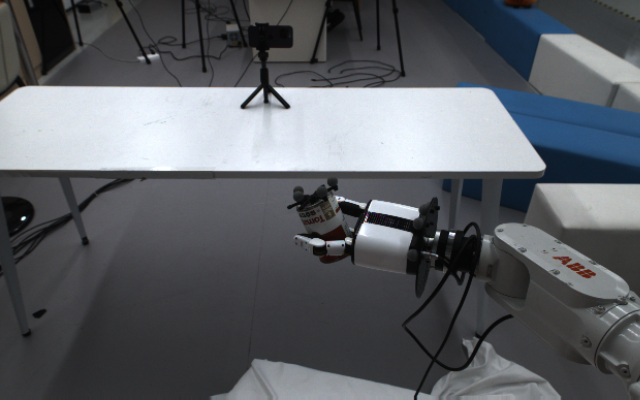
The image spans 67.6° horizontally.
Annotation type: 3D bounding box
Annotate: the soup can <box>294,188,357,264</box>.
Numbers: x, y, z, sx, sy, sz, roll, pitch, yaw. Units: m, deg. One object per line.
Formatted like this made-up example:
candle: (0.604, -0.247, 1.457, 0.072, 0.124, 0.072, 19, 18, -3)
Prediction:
soup can: (0.012, 0.044, 0.793, 0.067, 0.101, 0.067, -23, 16, 7)
